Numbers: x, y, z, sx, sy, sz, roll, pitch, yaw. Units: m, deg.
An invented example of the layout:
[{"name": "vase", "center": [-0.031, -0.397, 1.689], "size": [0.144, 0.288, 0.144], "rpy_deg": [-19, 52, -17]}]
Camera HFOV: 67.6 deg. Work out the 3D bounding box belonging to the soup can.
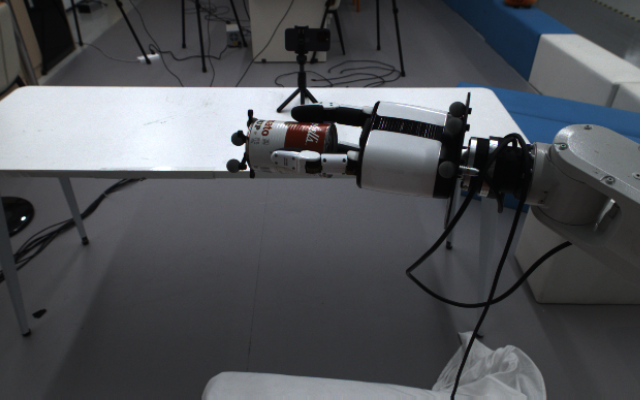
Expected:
[{"name": "soup can", "center": [-0.032, -0.065, 0.609], "size": [0.101, 0.067, 0.067], "rpy_deg": [6, 35, 13]}]
